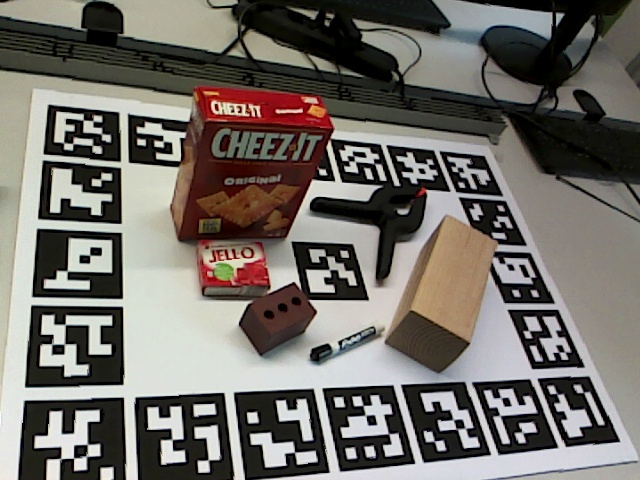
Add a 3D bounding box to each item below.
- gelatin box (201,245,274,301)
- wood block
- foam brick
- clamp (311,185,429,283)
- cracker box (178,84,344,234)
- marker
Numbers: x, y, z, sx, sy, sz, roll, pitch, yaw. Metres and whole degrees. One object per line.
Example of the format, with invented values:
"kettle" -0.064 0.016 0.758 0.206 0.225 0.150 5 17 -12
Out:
"gelatin box" -0.111 0.044 0.833 0.089 0.030 0.073 1 56 -22
"wood block" 0.177 0.075 0.893 0.090 0.091 0.206 28 46 2
"foam brick" -0.054 0.104 0.793 0.077 0.051 0.053 -22 67 -34
"clamp" 0.106 -0.036 0.979 0.202 0.037 0.166 -29 70 -37
"cracker box" -0.085 -0.095 0.819 0.163 0.214 0.072 0 54 -26
"marker" 0.030 0.141 0.820 0.120 0.019 0.020 -17 65 -32
